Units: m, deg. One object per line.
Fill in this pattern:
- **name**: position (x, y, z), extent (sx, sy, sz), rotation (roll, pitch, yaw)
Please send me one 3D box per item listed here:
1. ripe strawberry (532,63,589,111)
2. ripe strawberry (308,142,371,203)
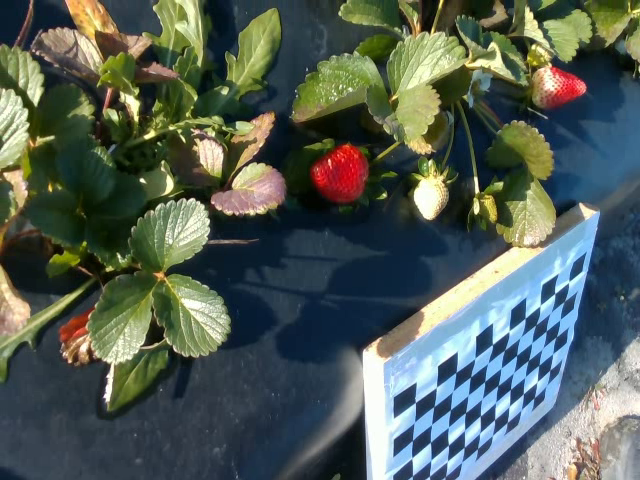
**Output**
- **ripe strawberry**: position (0.175, -0.112, 0.462), extent (0.045, 0.042, 0.037), rotation (3, -40, 25)
- **ripe strawberry**: position (0.008, -0.040, 0.358), extent (0.036, 0.044, 0.053), rotation (30, 20, 33)
